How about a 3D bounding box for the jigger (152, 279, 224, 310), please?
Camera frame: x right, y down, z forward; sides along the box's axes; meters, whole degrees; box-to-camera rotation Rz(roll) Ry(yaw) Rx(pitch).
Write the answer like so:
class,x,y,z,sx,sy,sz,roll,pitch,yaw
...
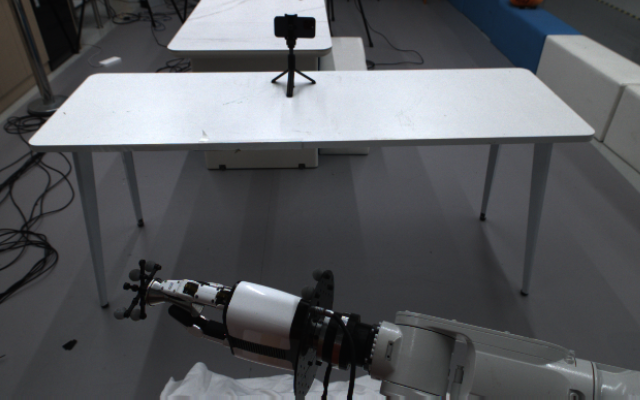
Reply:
class,x,y,z,sx,sy,sz,roll,pitch,yaw
jigger,-0.188,0.127,0.652,0.071,0.043,0.043,8,35,12
